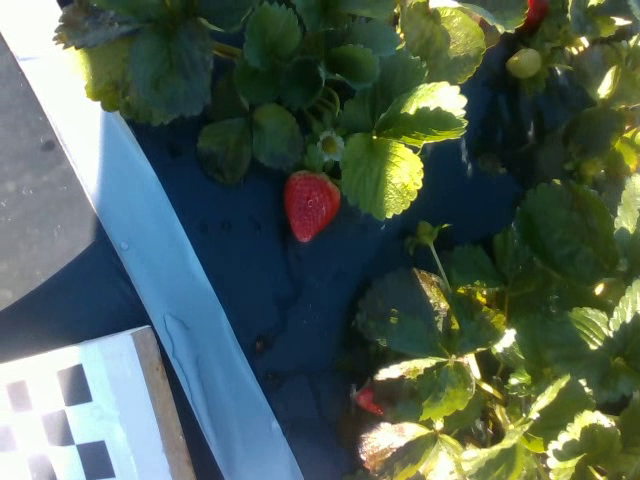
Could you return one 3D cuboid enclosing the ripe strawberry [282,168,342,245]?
[{"bbox_3d":[-0.008,-0.022,0.421,0.045,0.059,0.042,13,-8,19],"label":"ripe strawberry"}]
